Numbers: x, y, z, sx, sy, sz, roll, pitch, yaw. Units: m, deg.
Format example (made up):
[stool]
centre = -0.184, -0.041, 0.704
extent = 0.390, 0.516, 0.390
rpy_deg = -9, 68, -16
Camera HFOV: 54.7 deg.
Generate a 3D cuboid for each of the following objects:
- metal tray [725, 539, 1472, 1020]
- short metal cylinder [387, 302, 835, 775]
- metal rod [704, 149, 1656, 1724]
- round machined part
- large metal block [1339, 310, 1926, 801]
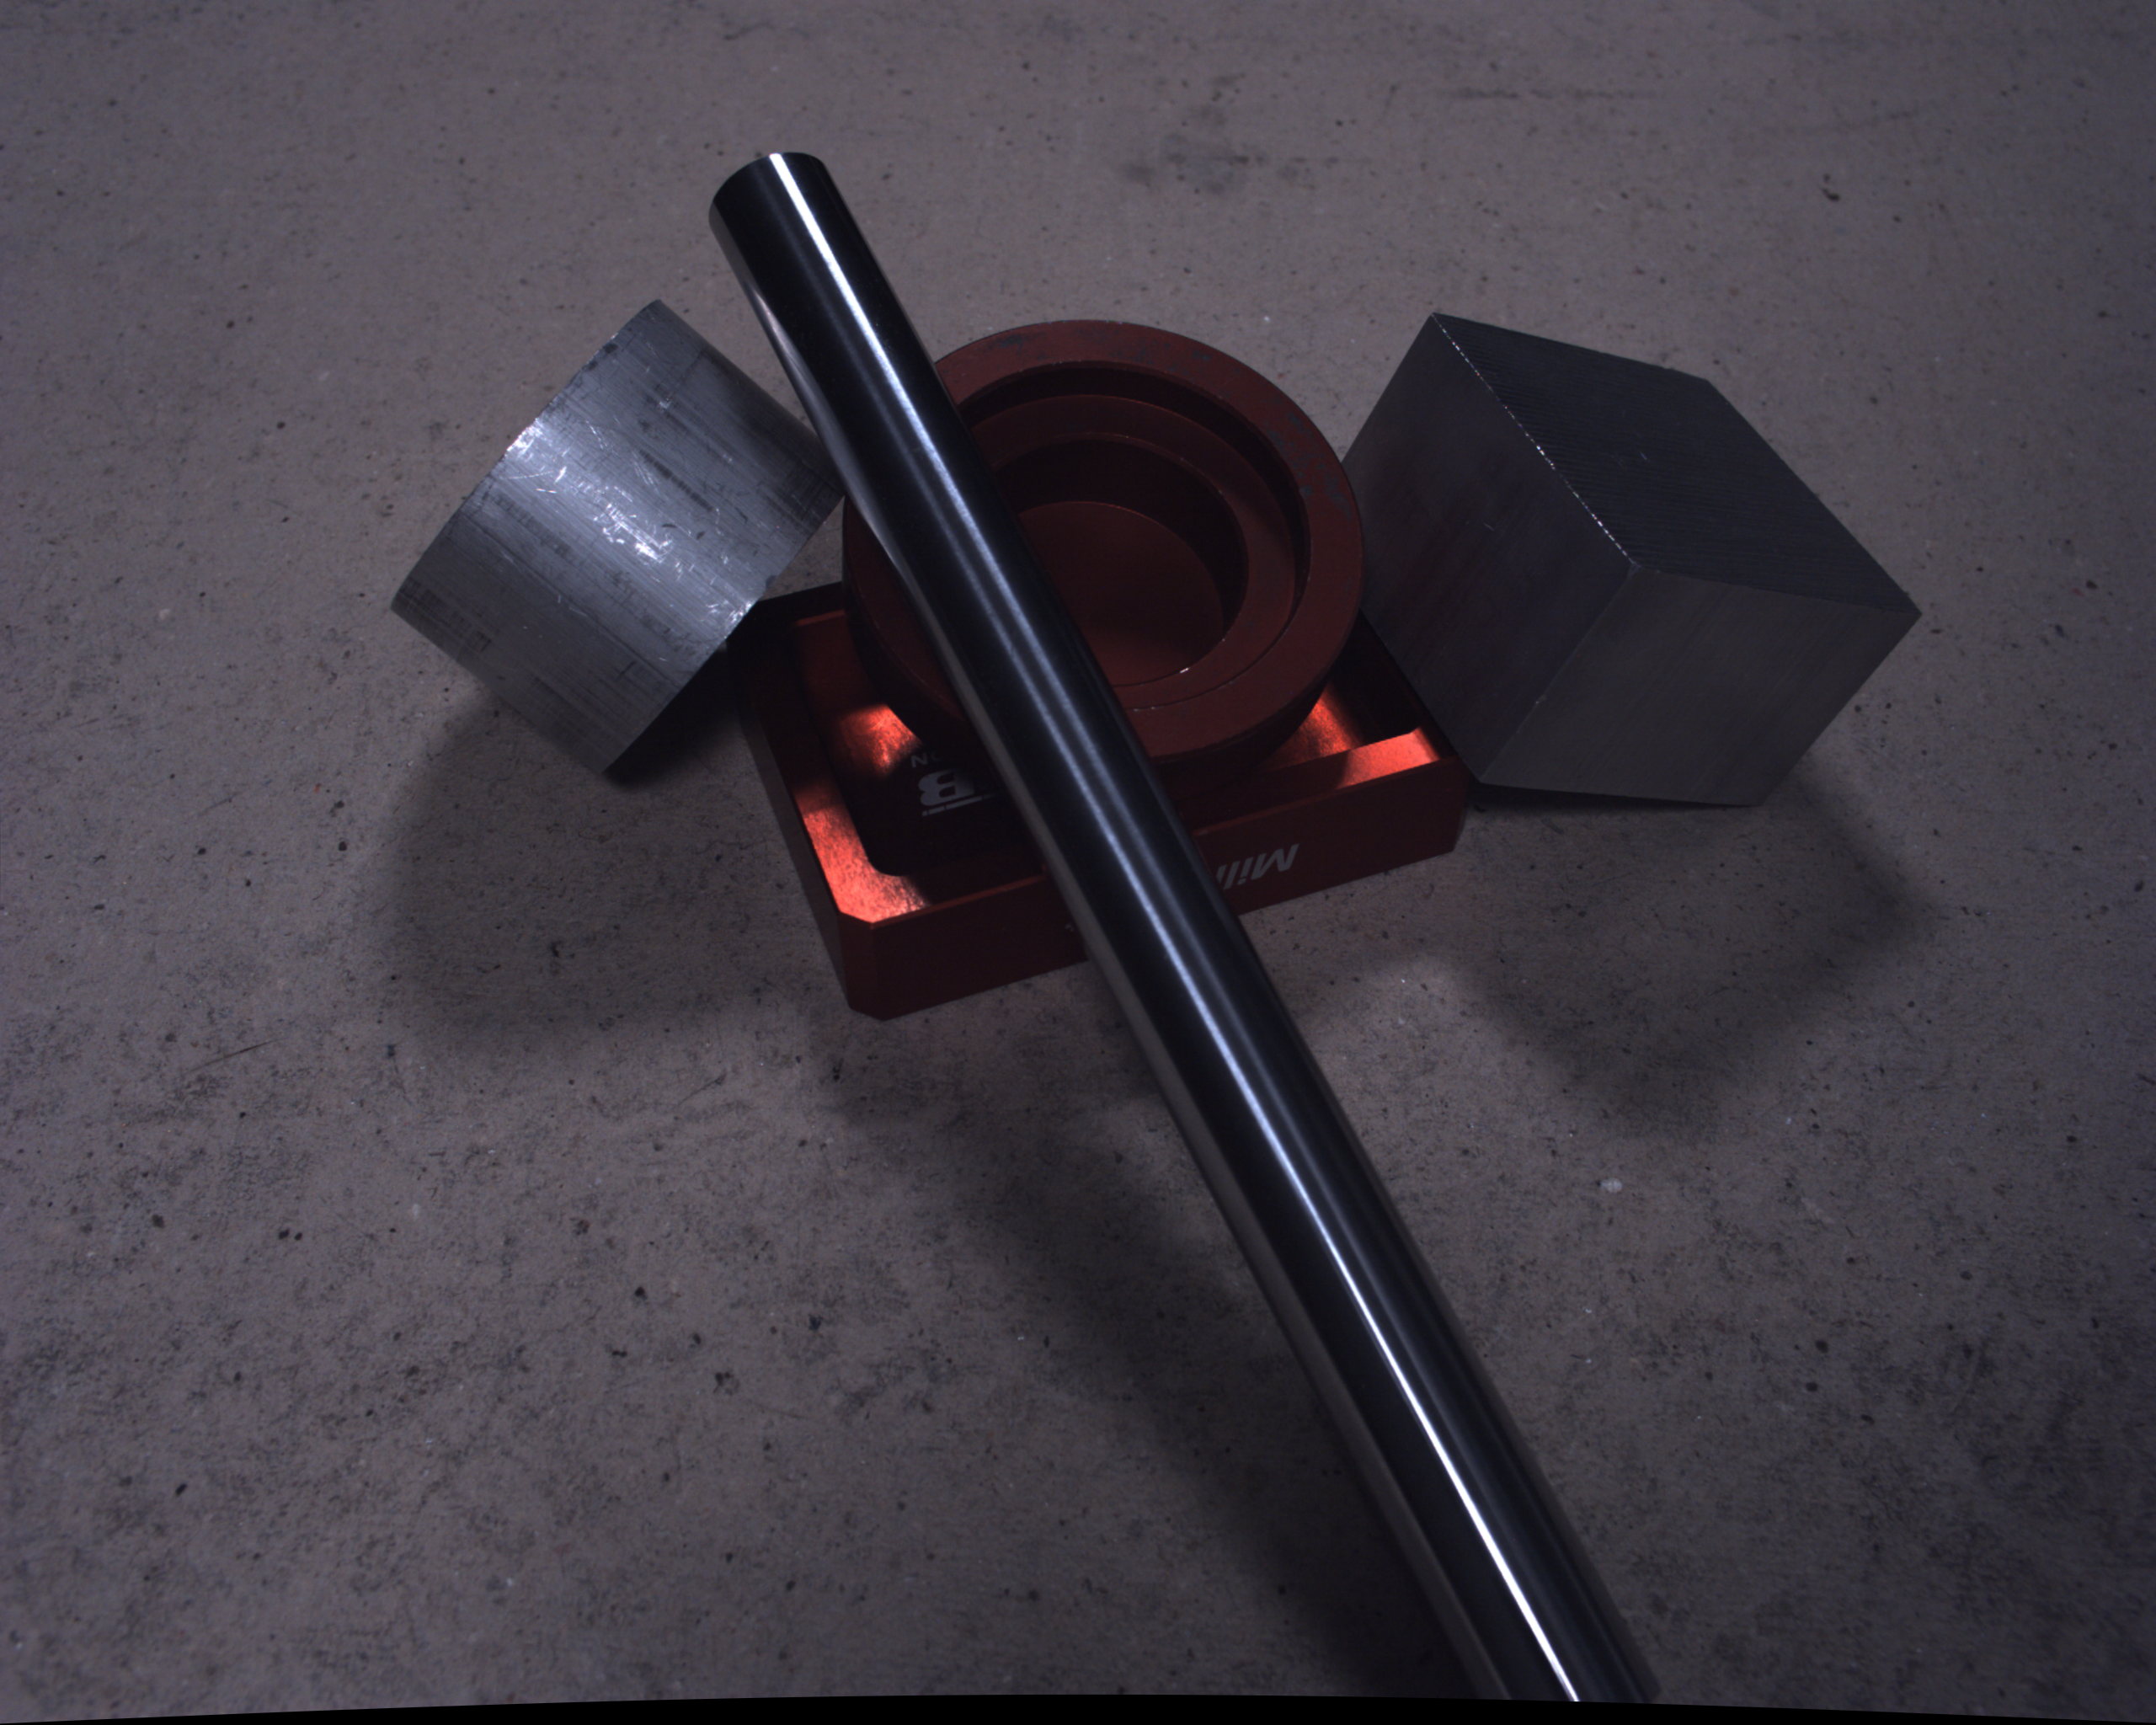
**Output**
[metal tray]
centre = 0.003, -0.027, 0.424
extent = 0.131, 0.030, 0.090
rpy_deg = -16, 52, -14
[short metal cylinder]
centre = -0.090, -0.064, 0.413
extent = 0.050, 0.080, 0.080
rpy_deg = 40, 53, -14
[metal rod]
centre = 0.006, 0.000, 0.348
extent = 0.025, 0.025, 0.299
rpy_deg = -22, 70, -17
[round machined part]
centre = 0.003, -0.055, 0.409
extent = 0.099, 0.042, 0.098
rpy_deg = 2, 65, -4
[large metal block]
centre = 0.105, -0.060, 0.418
extent = 0.081, 0.050, 0.080
rpy_deg = 3, 45, -33
